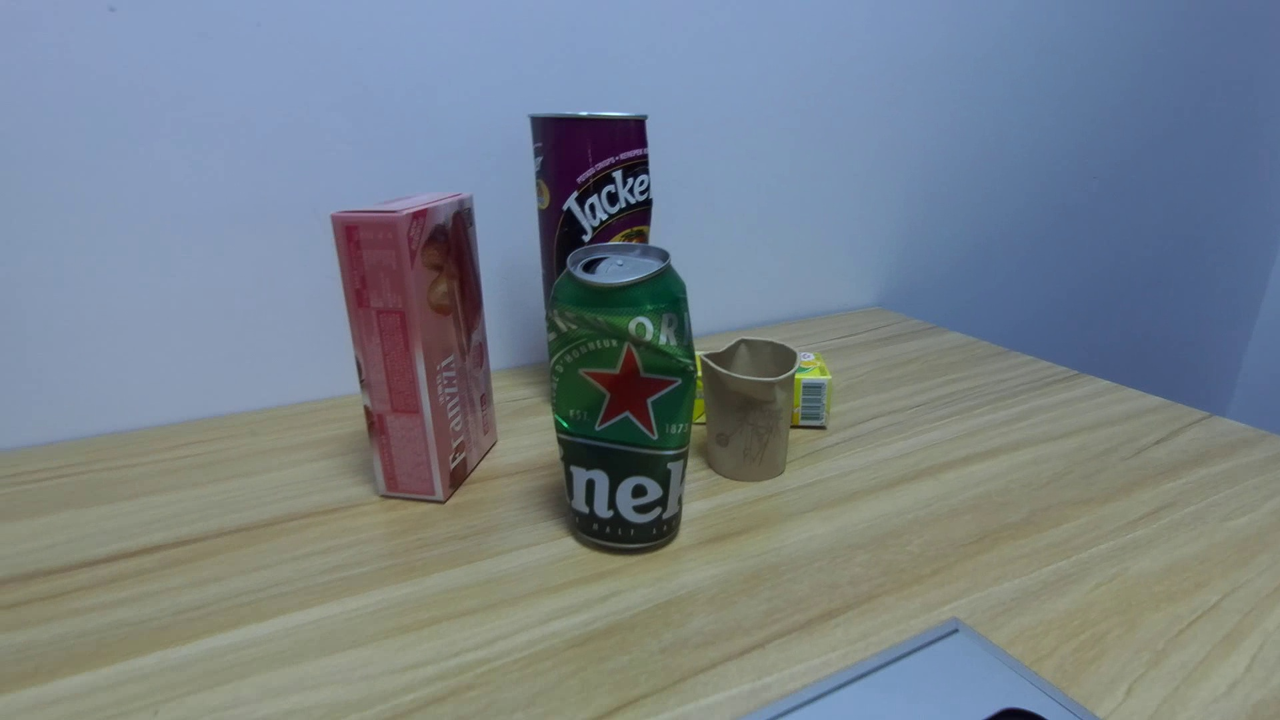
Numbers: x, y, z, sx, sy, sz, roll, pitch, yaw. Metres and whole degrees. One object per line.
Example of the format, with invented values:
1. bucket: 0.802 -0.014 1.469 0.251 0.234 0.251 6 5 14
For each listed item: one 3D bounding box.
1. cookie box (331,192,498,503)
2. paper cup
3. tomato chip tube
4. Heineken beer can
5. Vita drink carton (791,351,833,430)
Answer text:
1. cookie box: -0.140 -0.010 0.464 0.048 0.184 0.096 2 20 10
2. paper cup: 0.079 0.035 0.484 0.066 0.084 0.072 15 23 37
3. tomato chip tube: -0.036 -0.072 0.563 0.076 0.235 0.077 -9 18 -25
4. Heineken beer can: -0.009 0.025 0.394 0.069 0.168 0.068 -12 25 -25
5. Vita drink carton: 0.098 0.023 0.581 0.109 0.043 0.066 2 18 7
